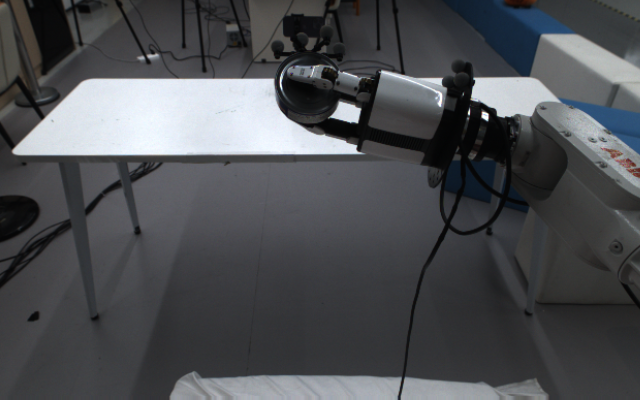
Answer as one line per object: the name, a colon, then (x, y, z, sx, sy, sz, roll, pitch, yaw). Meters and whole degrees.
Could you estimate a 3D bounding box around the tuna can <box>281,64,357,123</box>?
tuna can: (-0.013, -0.137, 0.605, 0.085, 0.034, 0.085, 1, 71, -4)
